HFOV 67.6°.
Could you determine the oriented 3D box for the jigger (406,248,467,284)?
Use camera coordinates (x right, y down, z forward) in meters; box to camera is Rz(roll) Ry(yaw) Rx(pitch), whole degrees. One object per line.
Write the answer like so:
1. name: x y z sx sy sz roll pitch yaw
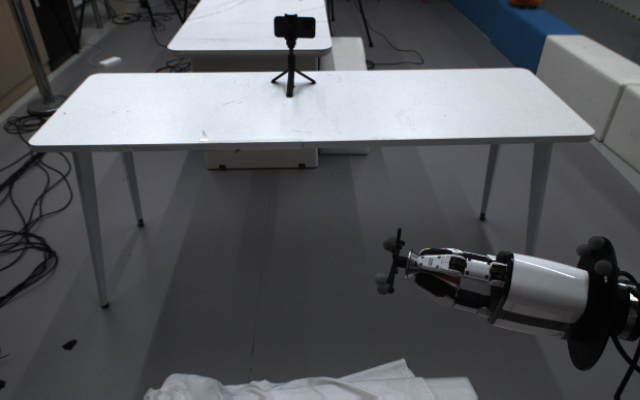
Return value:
1. jigger: 0.154 0.084 0.627 0.071 0.043 0.043 10 35 15
